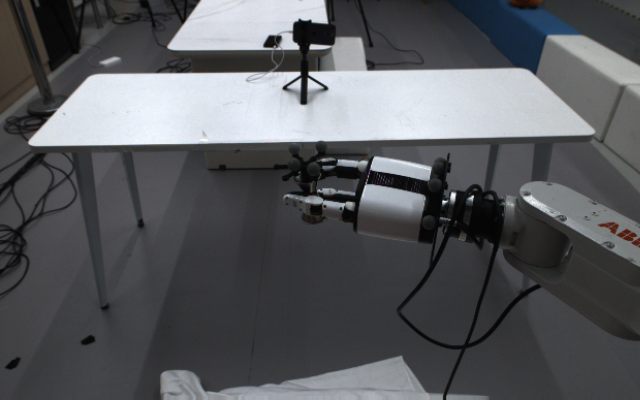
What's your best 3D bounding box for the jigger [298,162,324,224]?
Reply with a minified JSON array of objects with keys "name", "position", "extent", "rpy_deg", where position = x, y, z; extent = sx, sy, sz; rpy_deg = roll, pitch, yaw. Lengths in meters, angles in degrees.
[{"name":"jigger","position":[-0.011,-0.008,0.697],"extent":[0.043,0.071,0.043],"rpy_deg":[-9,31,5]}]
